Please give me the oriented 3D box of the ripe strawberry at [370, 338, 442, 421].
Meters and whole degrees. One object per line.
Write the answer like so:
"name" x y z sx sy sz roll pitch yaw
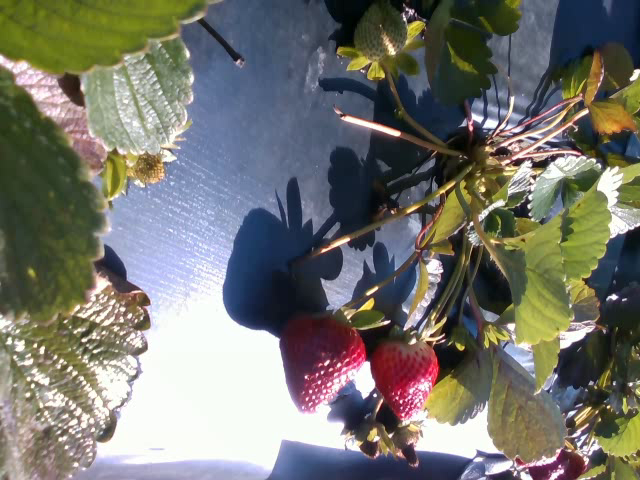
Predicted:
"ripe strawberry" 0.047 0.077 0.319 0.042 0.049 0.039 -1 -3 -8

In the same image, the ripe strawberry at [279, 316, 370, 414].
"ripe strawberry" -0.001 0.059 0.267 0.044 0.050 0.051 5 -22 26
